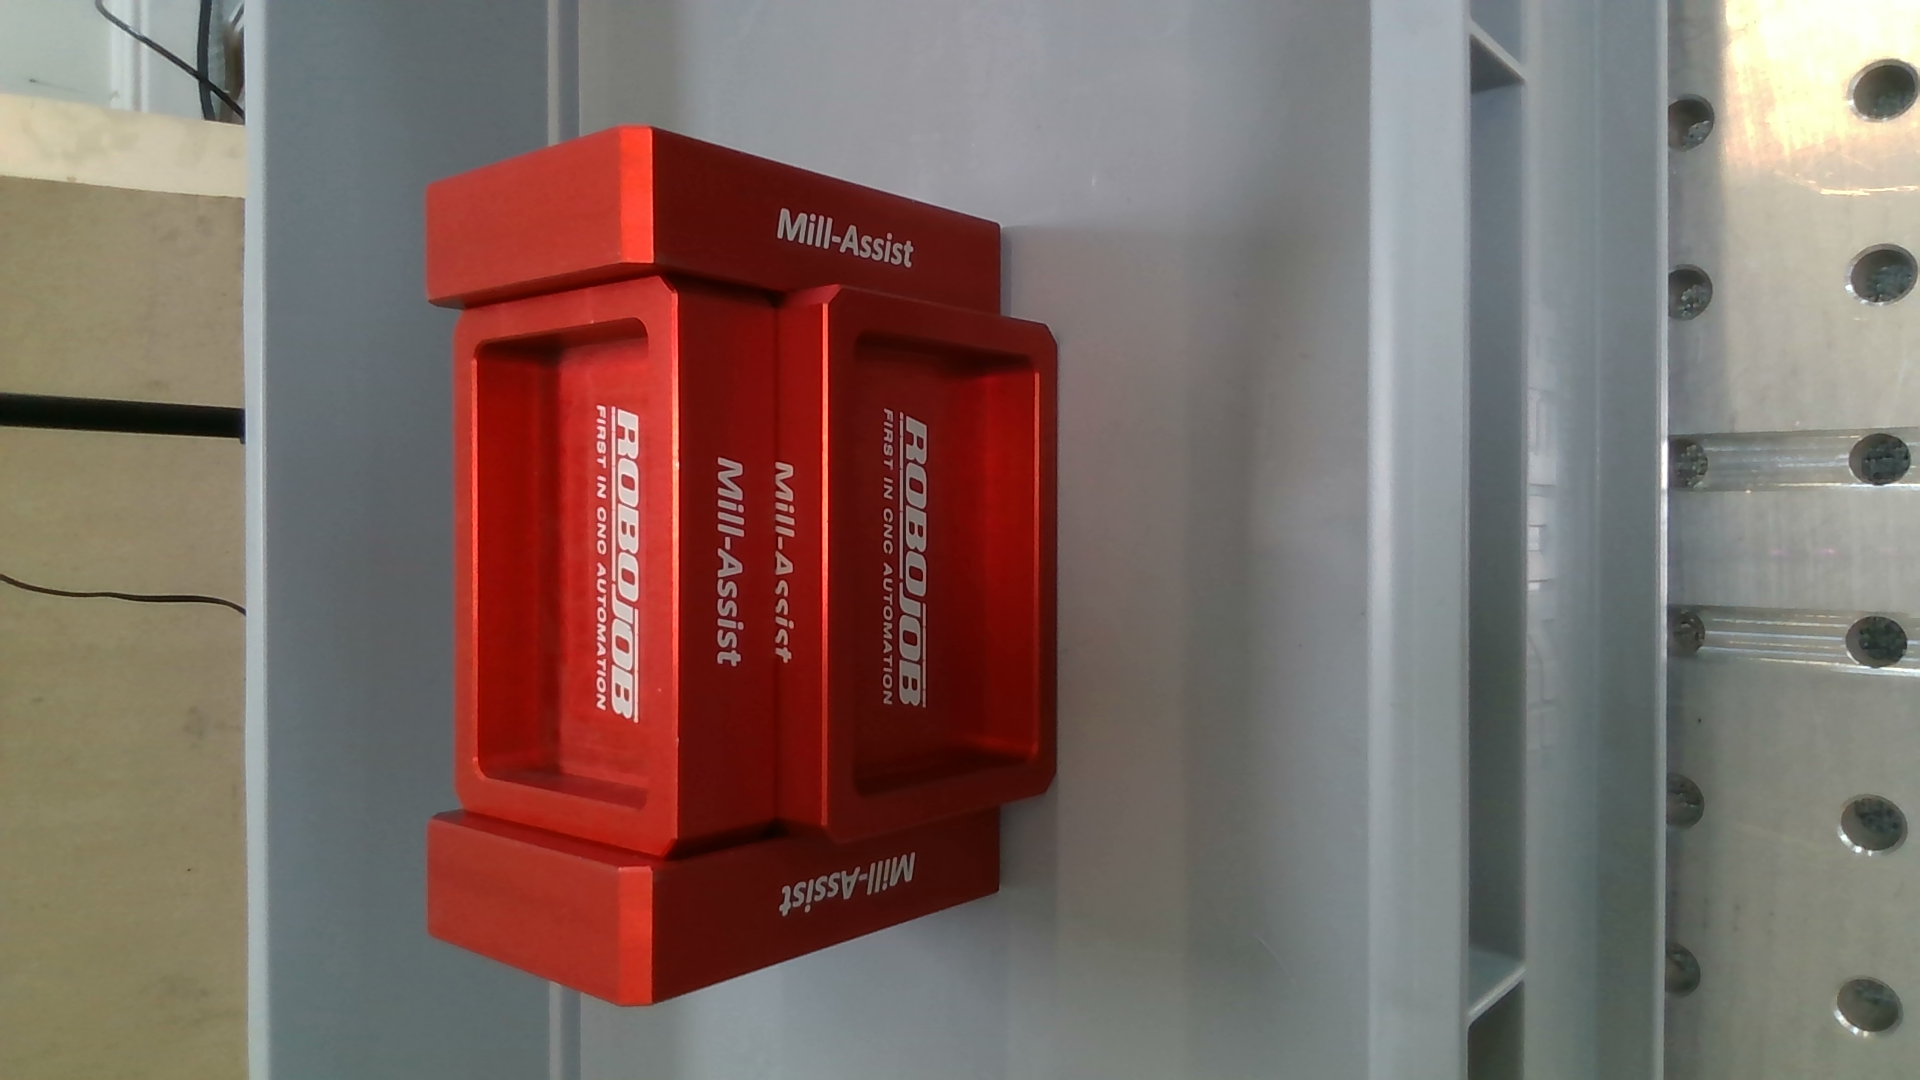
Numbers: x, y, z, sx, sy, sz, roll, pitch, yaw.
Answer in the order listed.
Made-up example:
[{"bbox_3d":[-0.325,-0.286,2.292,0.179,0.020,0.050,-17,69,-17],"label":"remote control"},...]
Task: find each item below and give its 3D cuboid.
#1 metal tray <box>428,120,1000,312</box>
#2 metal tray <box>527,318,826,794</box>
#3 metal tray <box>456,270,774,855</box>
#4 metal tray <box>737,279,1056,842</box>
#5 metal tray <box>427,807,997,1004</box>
[{"bbox_3d":[-0.062,-0.076,0.372,0.090,0.130,0.030,1,90,41],"label":"metal tray"},{"bbox_3d":[-0.083,0.004,0.415,0.030,0.090,0.130,0,91,40],"label":"metal tray"},{"bbox_3d":[-0.088,0.005,0.342,0.090,0.030,0.130,1,91,40],"label":"metal tray"},{"bbox_3d":[-0.014,0.005,0.357,0.030,0.090,0.130,1,90,41],"label":"metal tray"},{"bbox_3d":[-0.063,0.085,0.374,0.090,0.130,0.030,1,91,41],"label":"metal tray"}]
